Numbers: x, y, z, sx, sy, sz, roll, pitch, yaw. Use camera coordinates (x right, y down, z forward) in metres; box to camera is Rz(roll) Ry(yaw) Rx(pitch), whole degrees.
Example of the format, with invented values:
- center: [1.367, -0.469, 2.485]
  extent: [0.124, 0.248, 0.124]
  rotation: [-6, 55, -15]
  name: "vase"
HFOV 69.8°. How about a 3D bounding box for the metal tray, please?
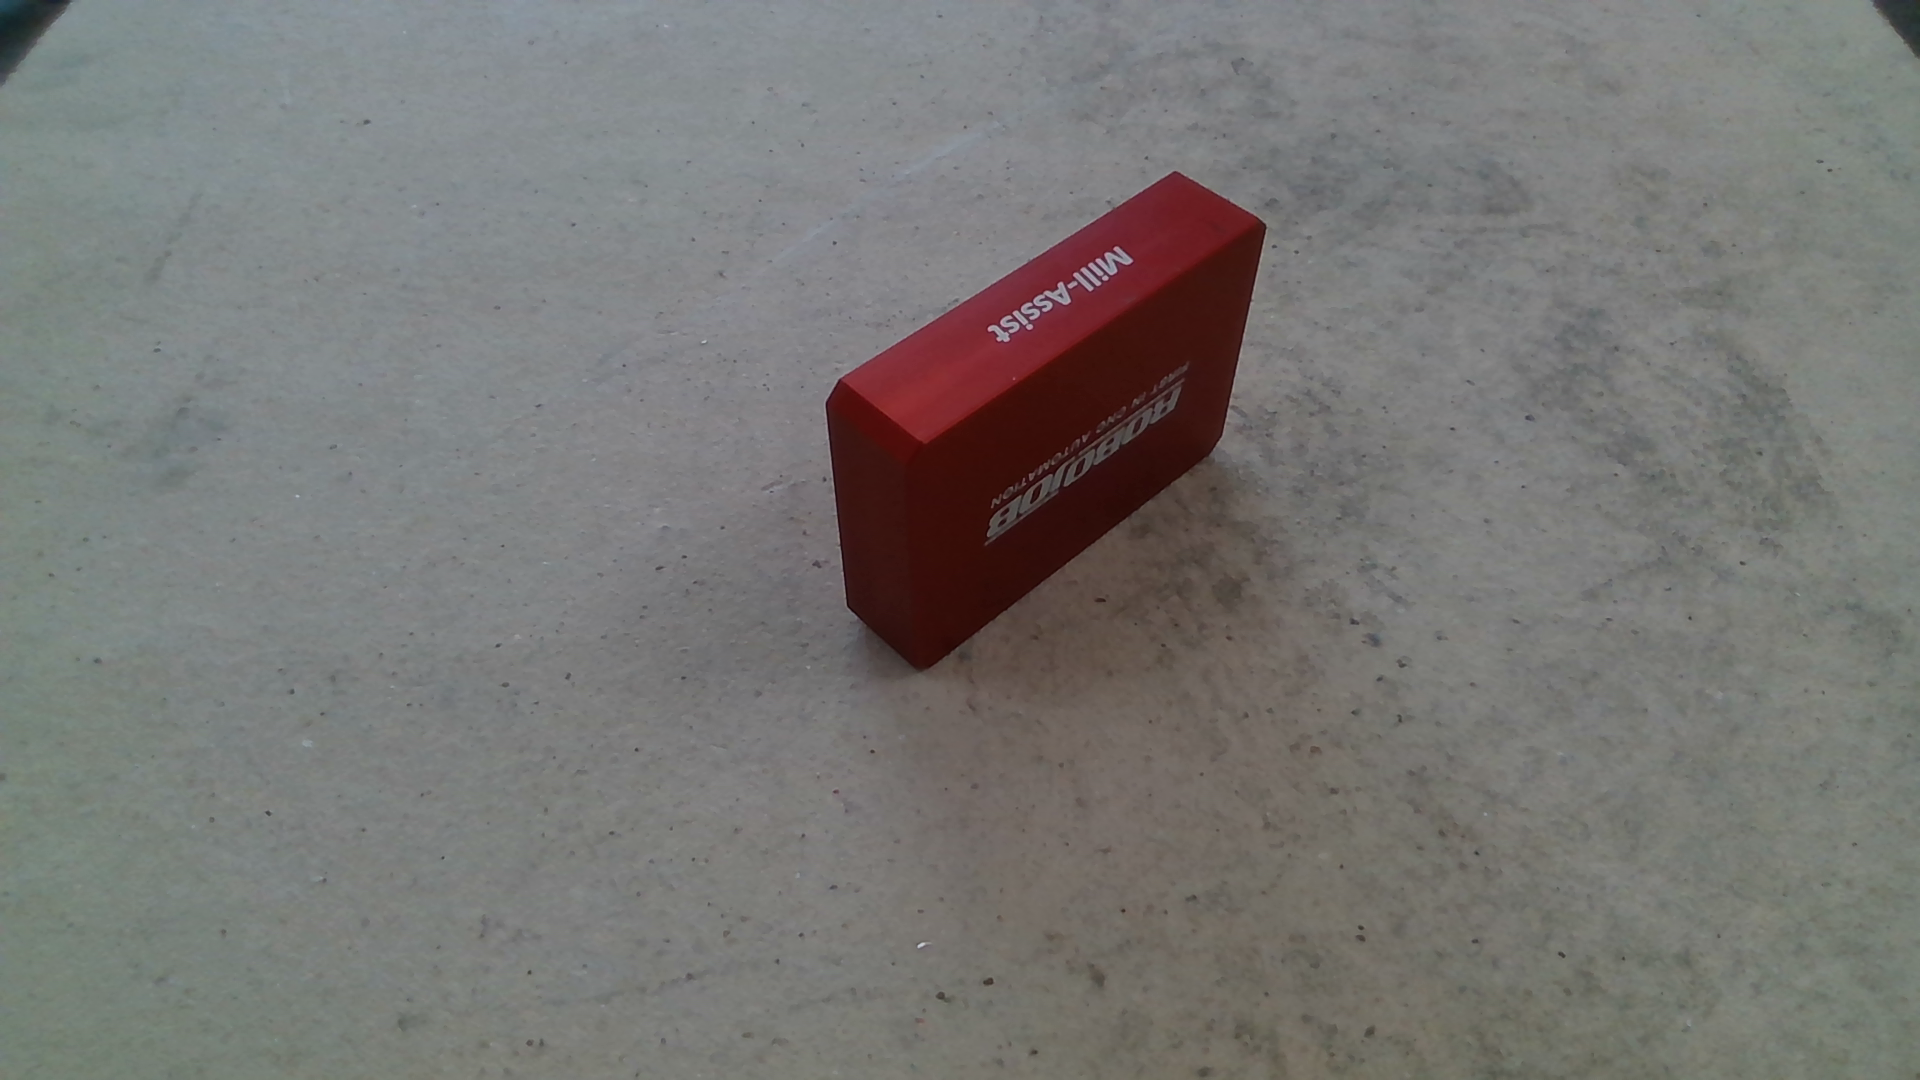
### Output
- center: [0.025, -0.033, 0.379]
  extent: [0.130, 0.090, 0.030]
  rotation: [-36, 59, -26]
  name: "metal tray"
